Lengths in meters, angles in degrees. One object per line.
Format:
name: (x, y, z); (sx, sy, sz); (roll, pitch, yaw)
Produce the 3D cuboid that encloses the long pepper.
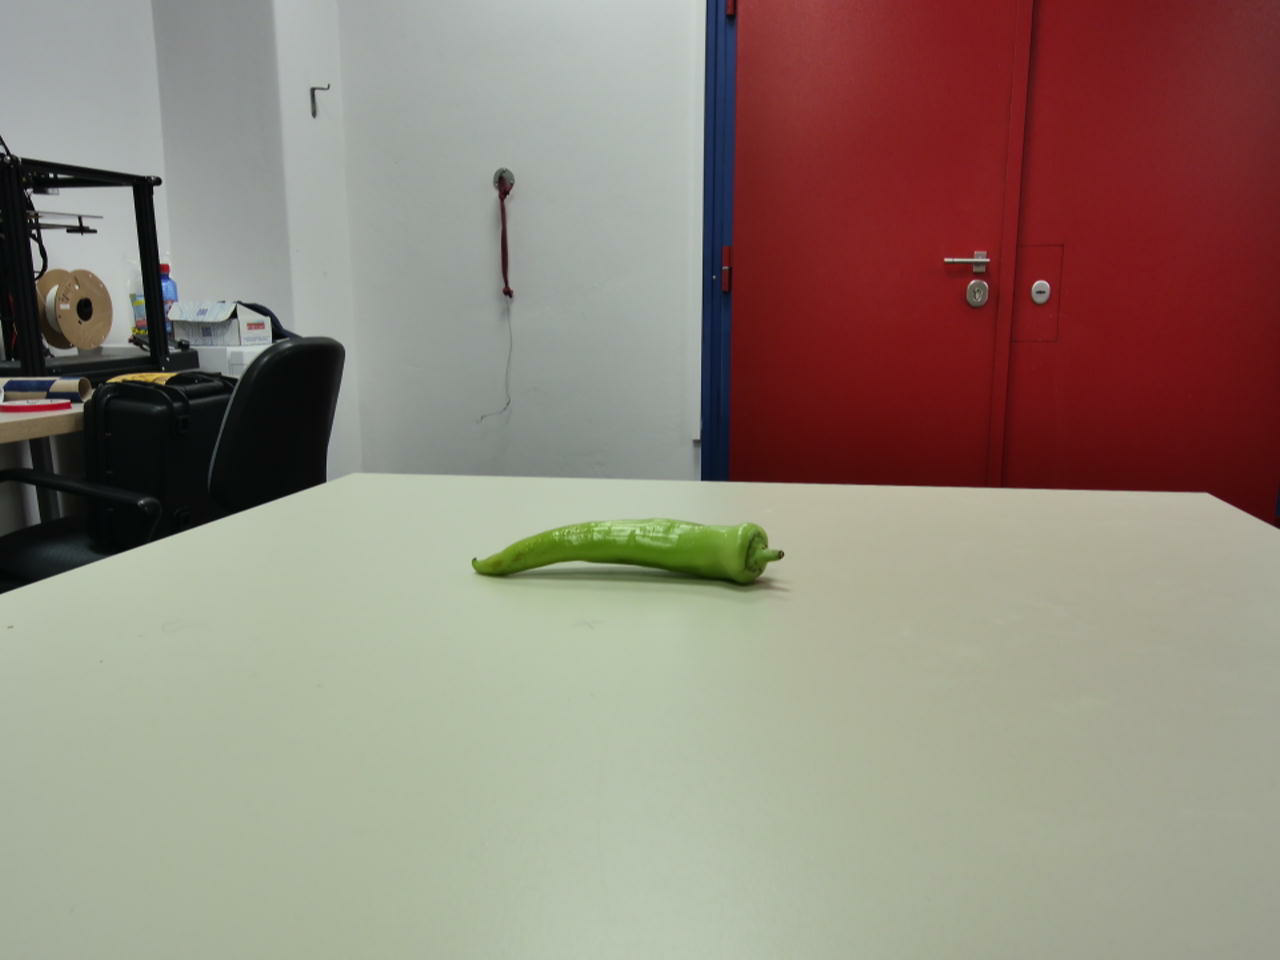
long pepper: (-0.008, 0.041, 0.615); (0.197, 0.038, 0.046); (2, 8, 13)
